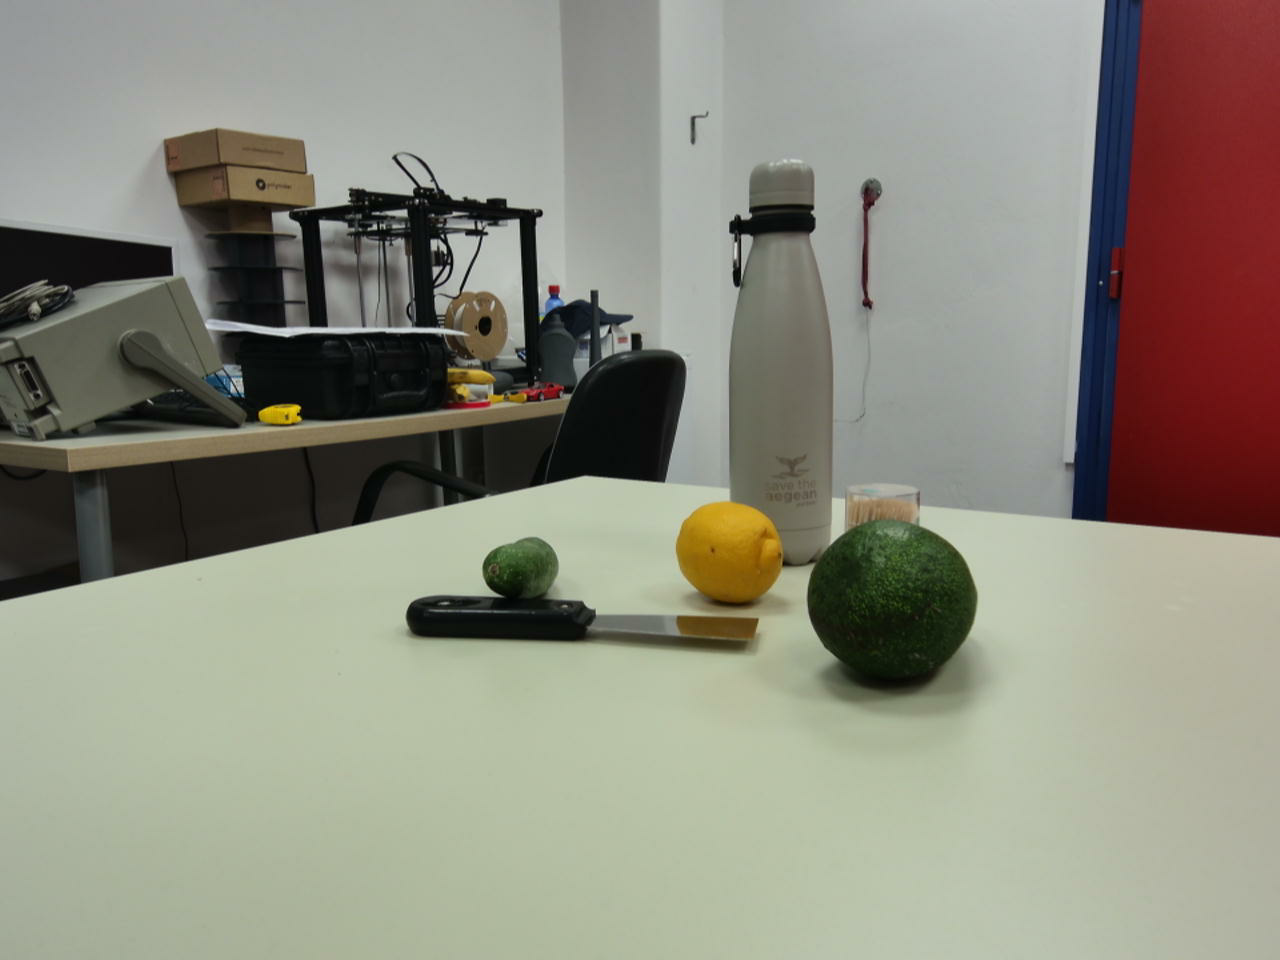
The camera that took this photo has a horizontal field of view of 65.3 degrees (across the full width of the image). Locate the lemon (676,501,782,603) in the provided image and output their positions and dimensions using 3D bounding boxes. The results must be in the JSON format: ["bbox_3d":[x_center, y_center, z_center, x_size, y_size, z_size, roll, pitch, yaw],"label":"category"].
[{"bbox_3d":[0.053,0.043,0.604,0.061,0.059,0.067,-1,7,-13],"label":"lemon"}]
